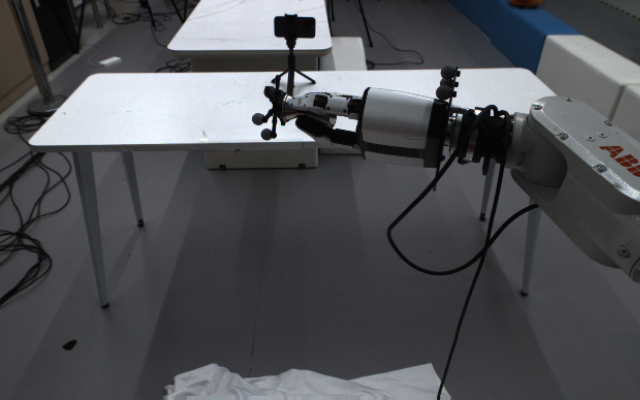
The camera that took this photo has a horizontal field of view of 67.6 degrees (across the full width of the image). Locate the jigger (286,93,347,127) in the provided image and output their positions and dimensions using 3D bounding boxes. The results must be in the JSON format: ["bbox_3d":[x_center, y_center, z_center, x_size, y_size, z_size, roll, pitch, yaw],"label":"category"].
[{"bbox_3d":[-0.008,-0.129,0.669,0.071,0.043,0.043,8,35,16],"label":"jigger"}]
